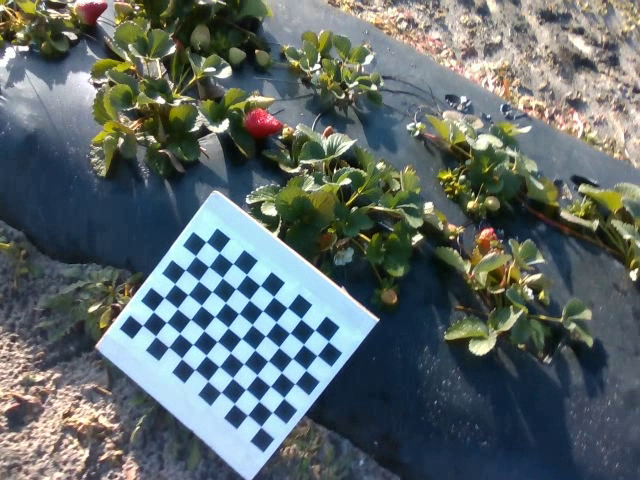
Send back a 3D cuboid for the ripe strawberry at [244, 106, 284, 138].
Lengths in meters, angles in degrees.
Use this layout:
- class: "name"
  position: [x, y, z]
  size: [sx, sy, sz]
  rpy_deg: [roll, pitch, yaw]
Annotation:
- class: "ripe strawberry"
  position: [-0.091, -0.186, 0.943]
  size: [0.072, 0.057, 0.055]
  rpy_deg: [14, 4, 15]
